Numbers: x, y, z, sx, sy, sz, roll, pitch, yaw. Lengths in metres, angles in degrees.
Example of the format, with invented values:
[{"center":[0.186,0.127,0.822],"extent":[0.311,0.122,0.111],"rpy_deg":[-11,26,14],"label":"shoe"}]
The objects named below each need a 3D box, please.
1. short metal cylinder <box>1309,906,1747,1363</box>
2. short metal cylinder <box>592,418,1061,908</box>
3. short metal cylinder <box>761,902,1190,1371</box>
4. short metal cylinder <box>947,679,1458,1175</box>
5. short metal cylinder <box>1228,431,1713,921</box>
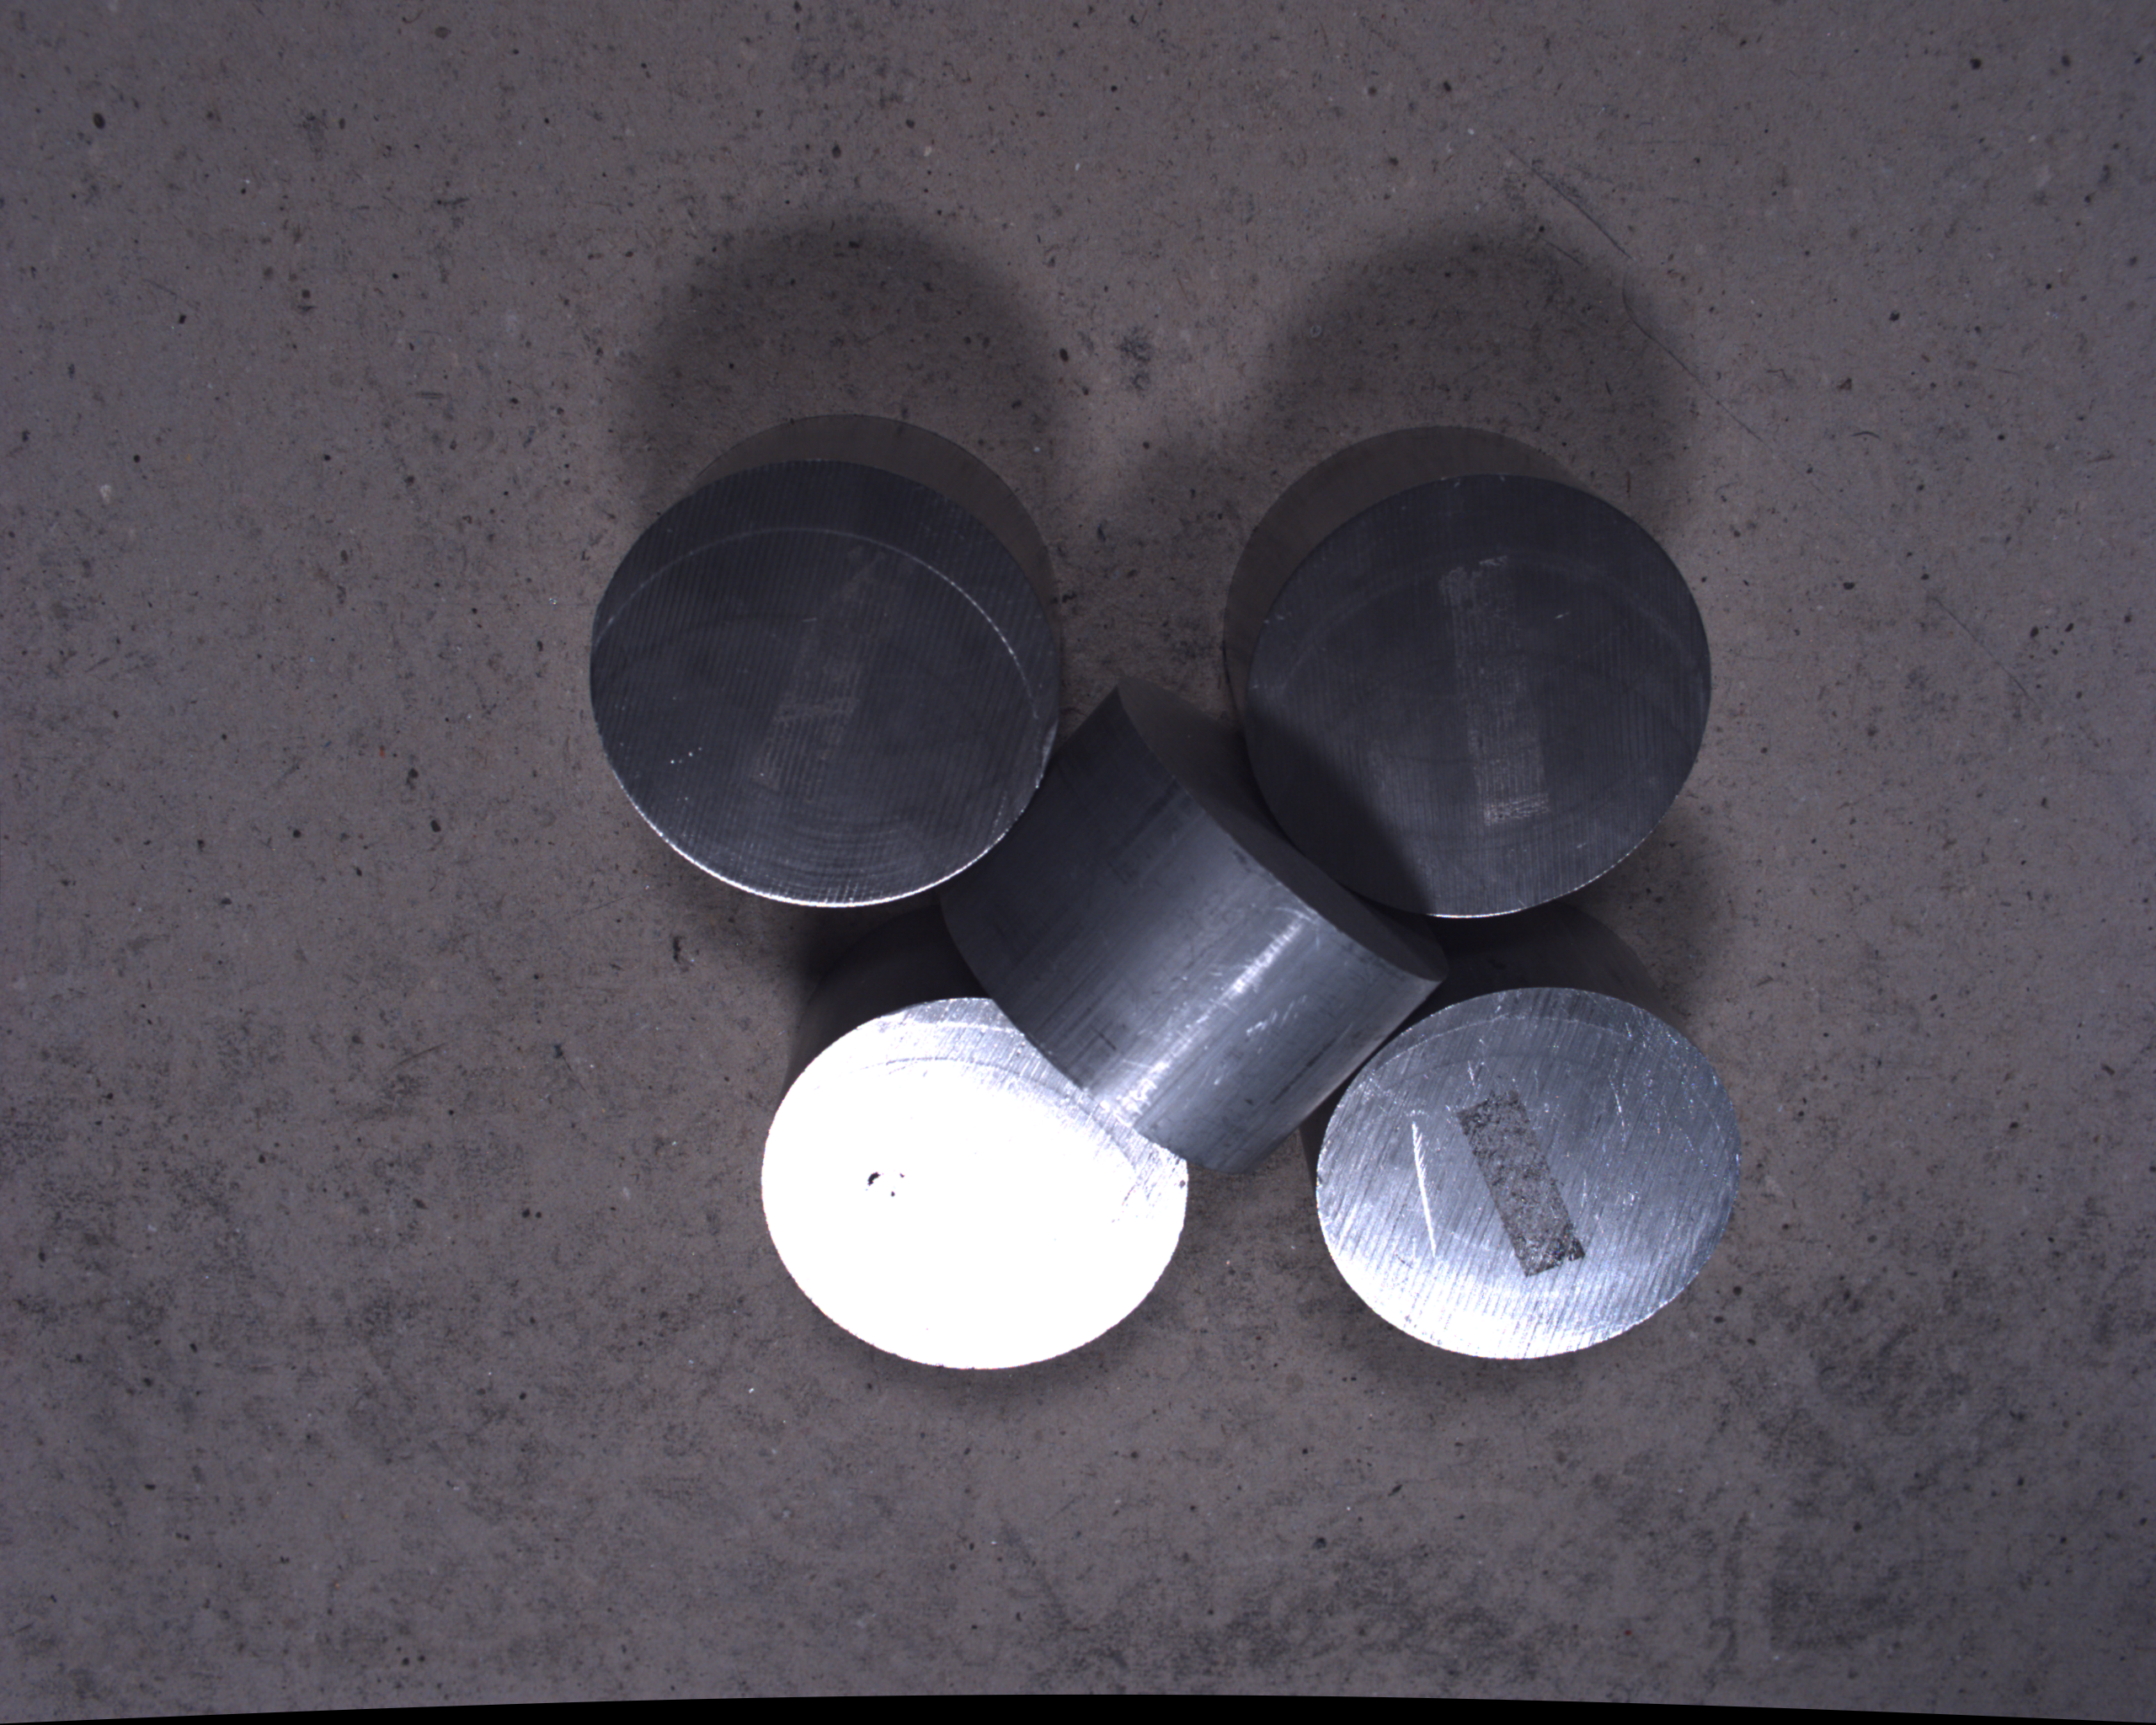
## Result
[{"center":[0.086,0.052,0.417],"extent":[0.081,0.050,0.079],"rpy_deg":[0,110,-1],"label":"short metal cylinder"},{"center":[-0.043,-0.038,0.382],"extent":[0.081,0.050,0.079],"rpy_deg":[0,110,-1],"label":"short metal cylinder"},{"center":[-0.019,0.053,0.416],"extent":[0.081,0.050,0.079],"rpy_deg":[0,110,-1],"label":"short metal cylinder"},{"center":[0.023,0.011,0.386],"extent":[0.080,0.080,0.050],"rpy_deg":[38,106,-13],"label":"short metal cylinder"},{"center":[0.069,-0.035,0.384],"extent":[0.081,0.050,0.079],"rpy_deg":[0,110,-1],"label":"short metal cylinder"}]
